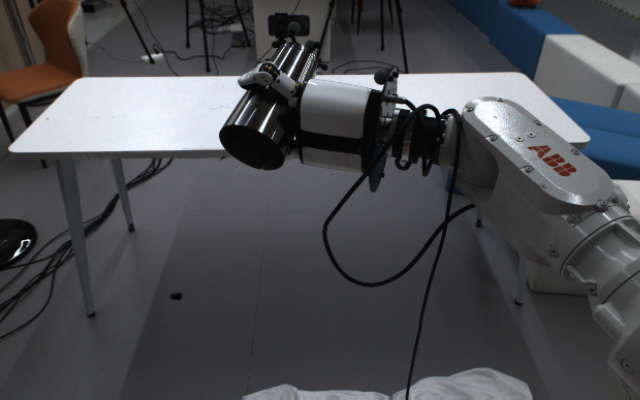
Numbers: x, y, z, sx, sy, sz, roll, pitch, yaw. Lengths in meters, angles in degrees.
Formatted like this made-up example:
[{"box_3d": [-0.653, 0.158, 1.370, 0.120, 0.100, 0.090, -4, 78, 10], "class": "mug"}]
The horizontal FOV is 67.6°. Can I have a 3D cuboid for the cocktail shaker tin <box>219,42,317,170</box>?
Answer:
[{"box_3d": [-0.063, -0.135, 0.665, 0.093, 0.093, 0.170, 14, 61, 17], "class": "cocktail shaker tin"}]
